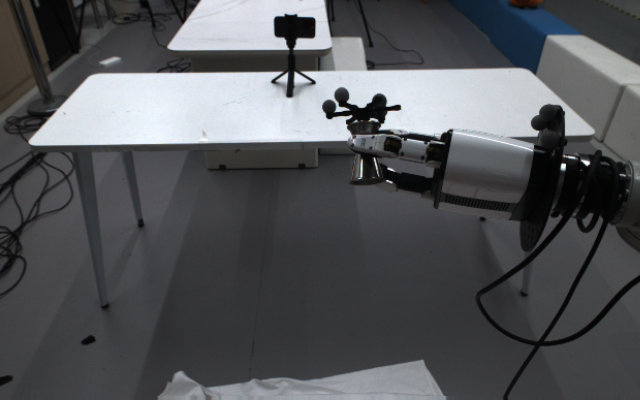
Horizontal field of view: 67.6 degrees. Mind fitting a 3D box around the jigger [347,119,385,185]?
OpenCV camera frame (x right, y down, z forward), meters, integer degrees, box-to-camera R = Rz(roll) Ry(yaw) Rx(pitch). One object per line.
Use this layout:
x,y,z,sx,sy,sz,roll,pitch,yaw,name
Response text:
0.053,-0.054,0.564,0.043,0.071,0.043,-2,-7,0,jigger
